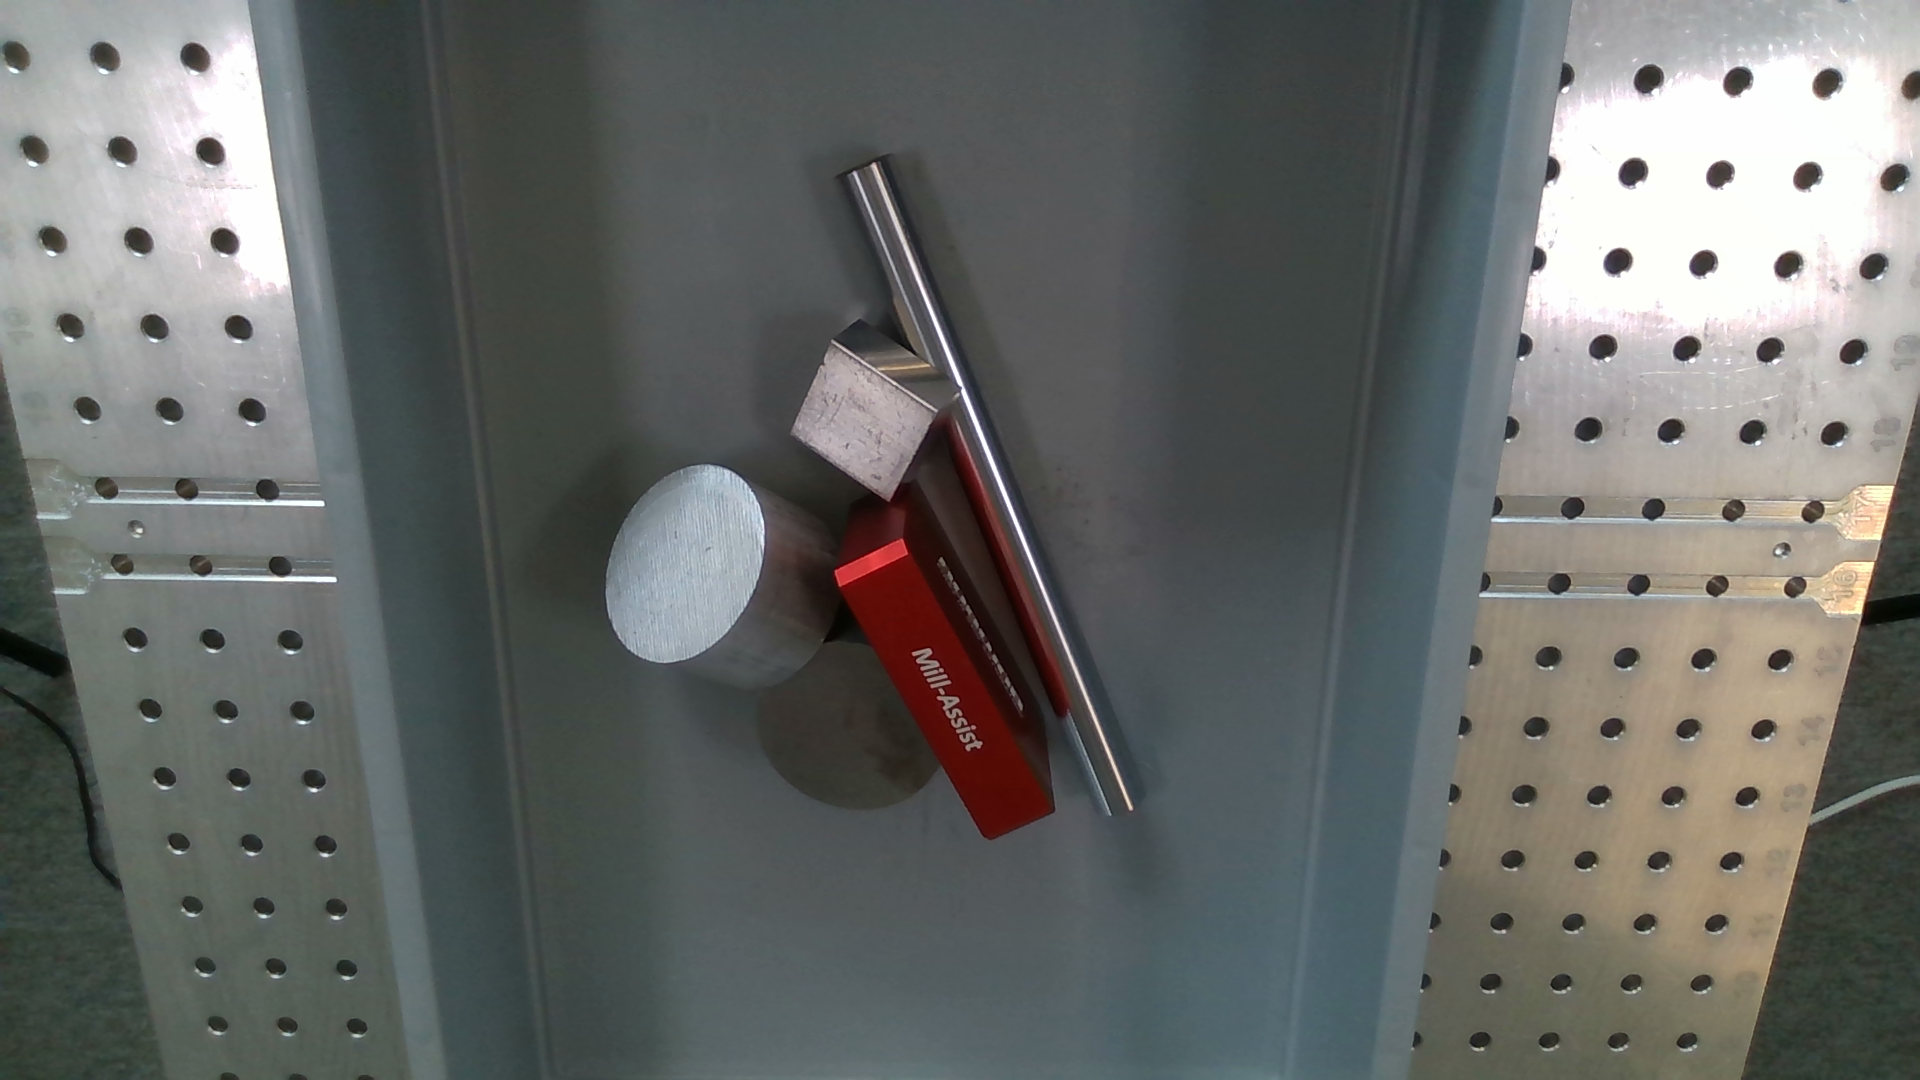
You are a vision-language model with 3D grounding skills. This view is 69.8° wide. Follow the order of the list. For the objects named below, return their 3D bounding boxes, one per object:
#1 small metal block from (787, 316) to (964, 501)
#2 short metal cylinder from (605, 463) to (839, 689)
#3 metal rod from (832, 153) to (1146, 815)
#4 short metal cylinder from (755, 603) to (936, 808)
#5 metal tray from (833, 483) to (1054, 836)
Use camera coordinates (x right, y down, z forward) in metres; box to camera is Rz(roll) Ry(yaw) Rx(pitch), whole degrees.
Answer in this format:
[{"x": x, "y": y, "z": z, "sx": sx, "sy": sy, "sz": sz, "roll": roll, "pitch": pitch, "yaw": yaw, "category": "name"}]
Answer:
[{"x": -0.034, "y": -0.052, "z": 0.551, "sx": 0.050, "sy": 0.025, "sz": 0.050, "roll": 34, "pitch": 127, "yaw": 4, "category": "small metal block"}, {"x": -0.095, "y": 0.015, "z": 0.553, "sx": 0.080, "sy": 0.080, "sz": 0.050, "roll": -41, "pitch": 146, "yaw": 14, "category": "short metal cylinder"}, {"x": 0.017, "y": -0.013, "z": 0.579, "sx": 0.025, "sy": 0.025, "sz": 0.301, "roll": -20, "pitch": 109, "yaw": 7, "category": "metal rod"}, {"x": -0.042, "y": 0.067, "z": 0.590, "sx": 0.080, "sy": 0.050, "sz": 0.080, "roll": 3, "pitch": 115, "yaw": 8, "category": "short metal cylinder"}, {"x": -0.005, "y": 0.045, "z": 0.566, "sx": 0.030, "sy": 0.090, "sz": 0.130, "roll": -25, "pitch": 108, "yaw": 9, "category": "metal tray"}]
